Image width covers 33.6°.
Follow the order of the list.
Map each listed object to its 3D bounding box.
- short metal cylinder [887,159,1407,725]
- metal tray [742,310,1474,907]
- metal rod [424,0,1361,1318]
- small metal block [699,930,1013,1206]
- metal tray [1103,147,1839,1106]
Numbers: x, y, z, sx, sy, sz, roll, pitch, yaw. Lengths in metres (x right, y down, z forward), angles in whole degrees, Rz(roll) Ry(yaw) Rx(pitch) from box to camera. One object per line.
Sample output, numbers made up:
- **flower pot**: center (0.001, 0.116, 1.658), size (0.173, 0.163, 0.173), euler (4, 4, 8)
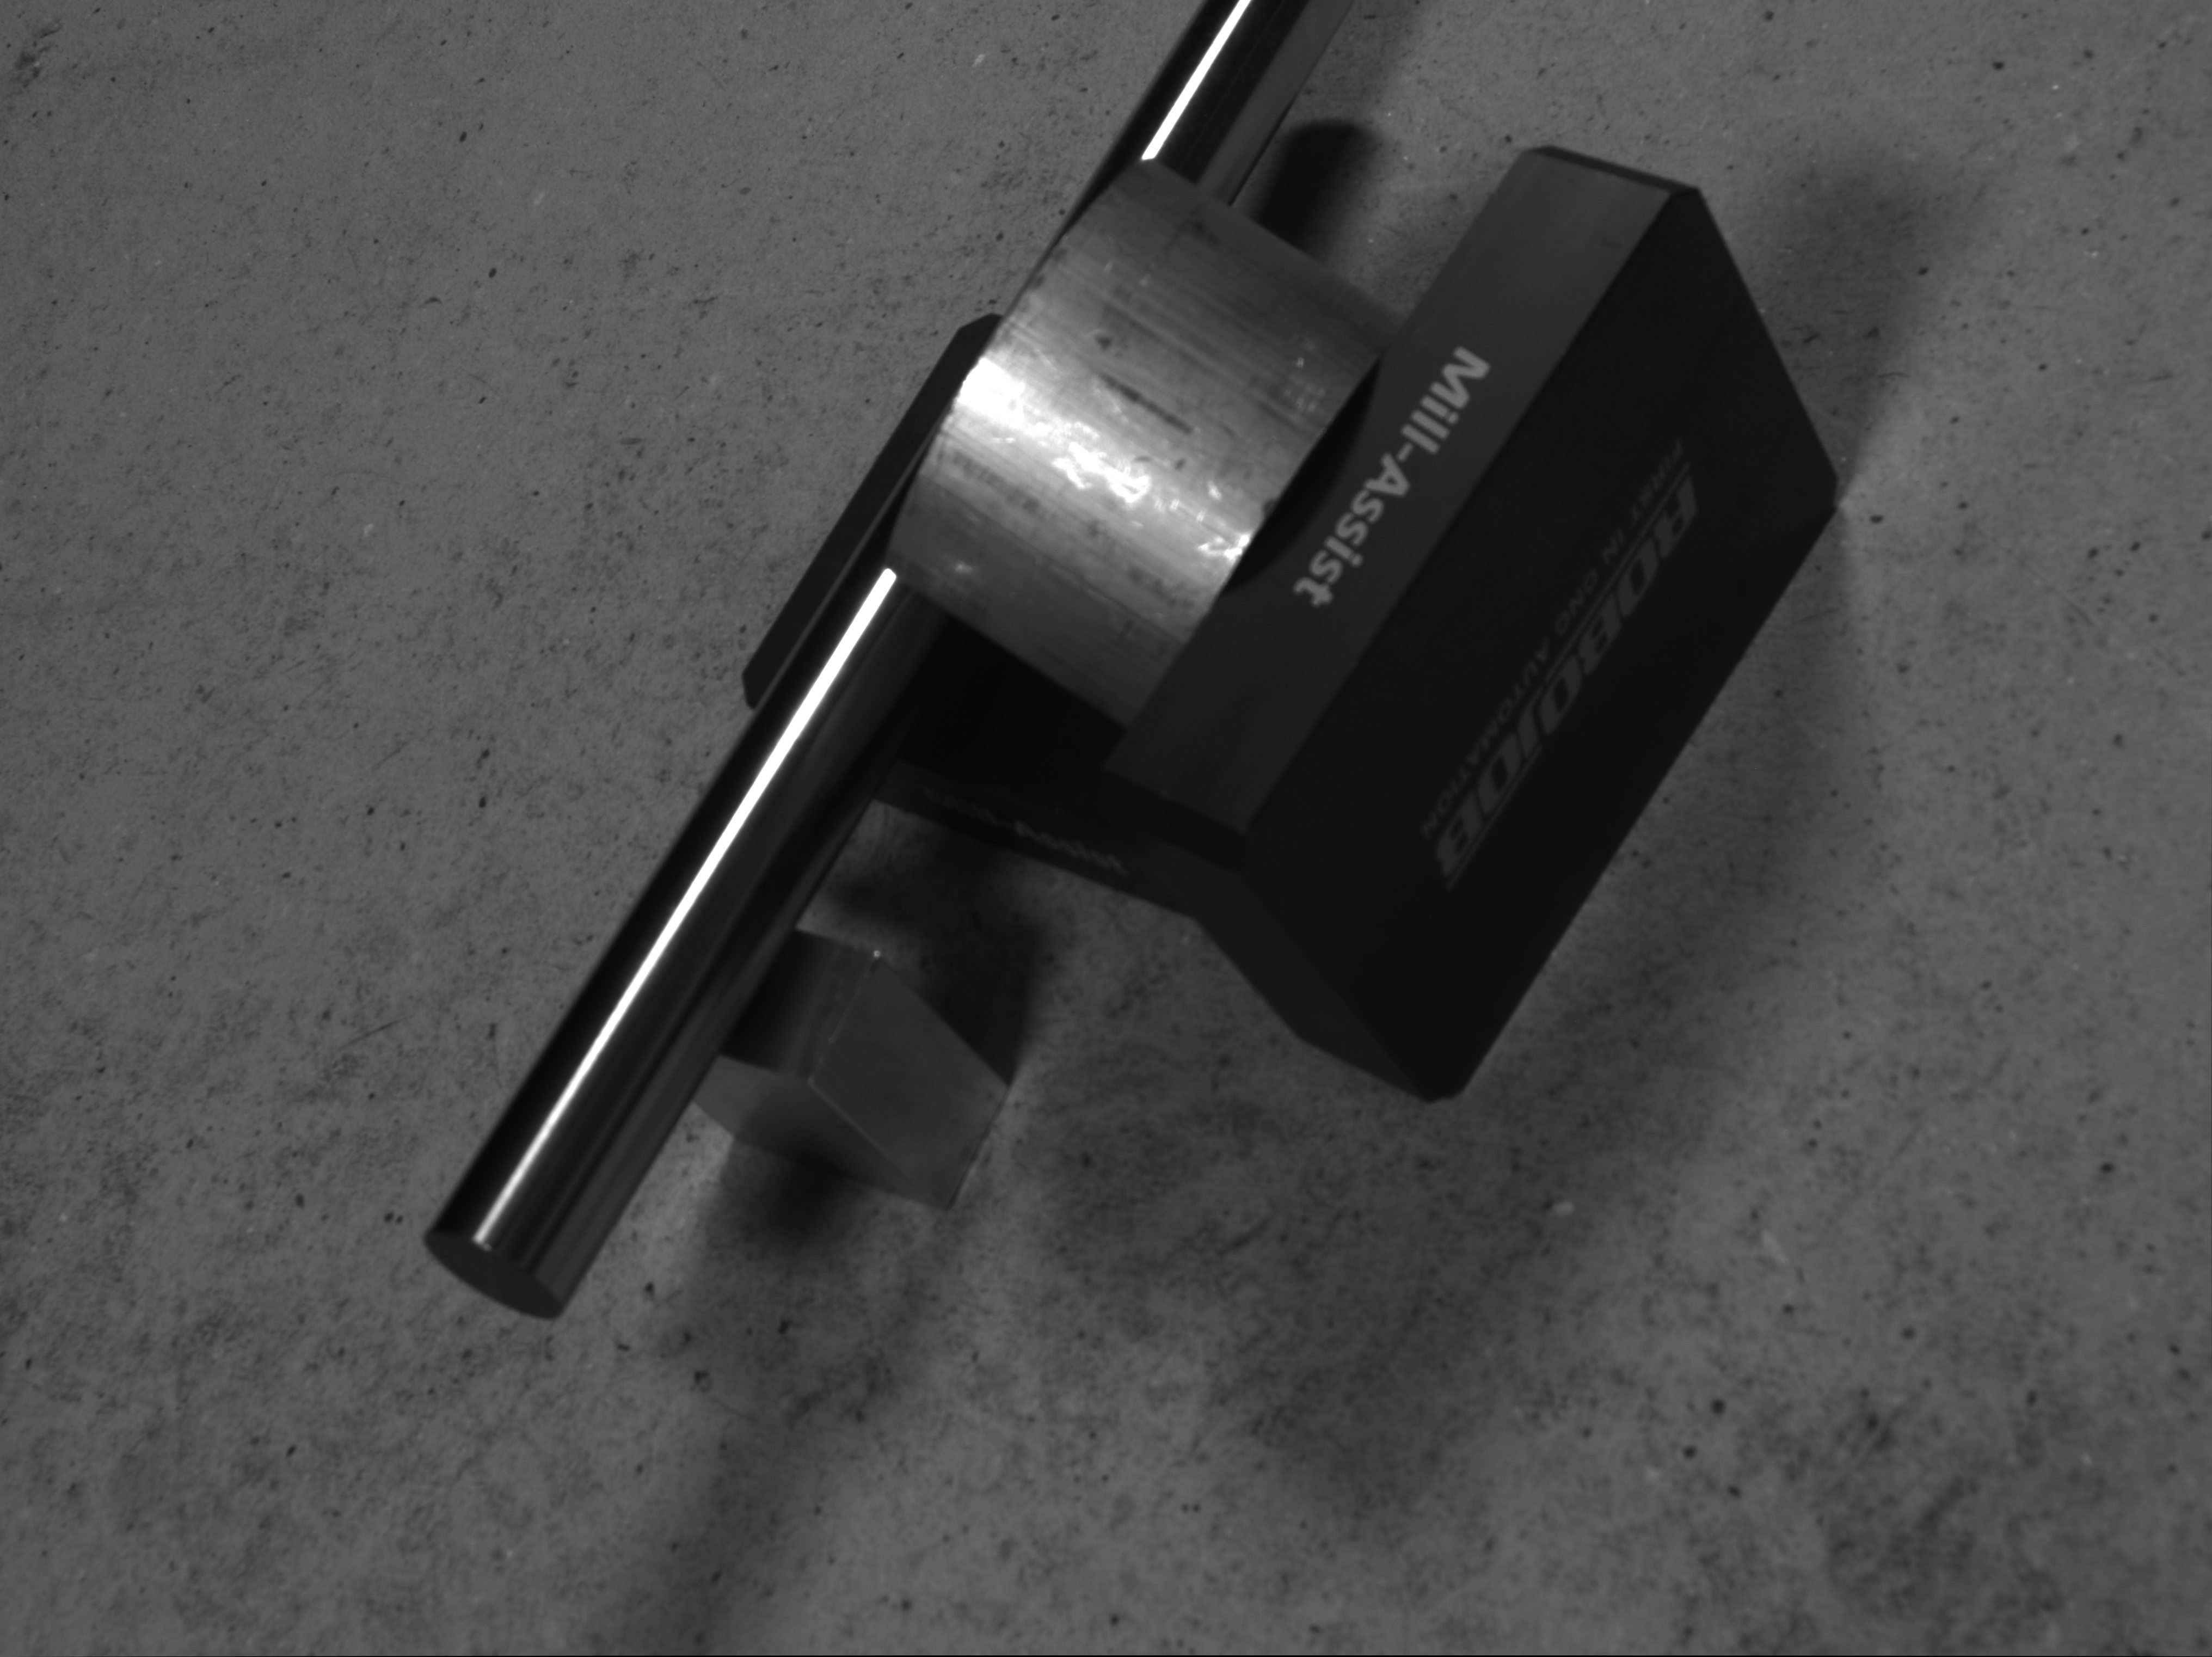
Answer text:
- **short metal cylinder**: center (0.008, -0.061, 0.595), size (0.050, 0.080, 0.080), euler (33, 78, 5)
- **metal tray**: center (0.008, -0.038, 0.660), size (0.130, 0.030, 0.090), euler (20, 72, 36)
- **metal rod**: center (-0.029, -0.047, 0.639), size (0.025, 0.025, 0.300), euler (11, 58, 33)
- **small metal block**: center (-0.052, 0.038, 0.633), size (0.050, 0.050, 0.025), euler (13, 69, 34)
- **metal tray**: center (0.062, -0.031, 0.588), size (0.030, 0.090, 0.130), euler (25, 75, 37)
